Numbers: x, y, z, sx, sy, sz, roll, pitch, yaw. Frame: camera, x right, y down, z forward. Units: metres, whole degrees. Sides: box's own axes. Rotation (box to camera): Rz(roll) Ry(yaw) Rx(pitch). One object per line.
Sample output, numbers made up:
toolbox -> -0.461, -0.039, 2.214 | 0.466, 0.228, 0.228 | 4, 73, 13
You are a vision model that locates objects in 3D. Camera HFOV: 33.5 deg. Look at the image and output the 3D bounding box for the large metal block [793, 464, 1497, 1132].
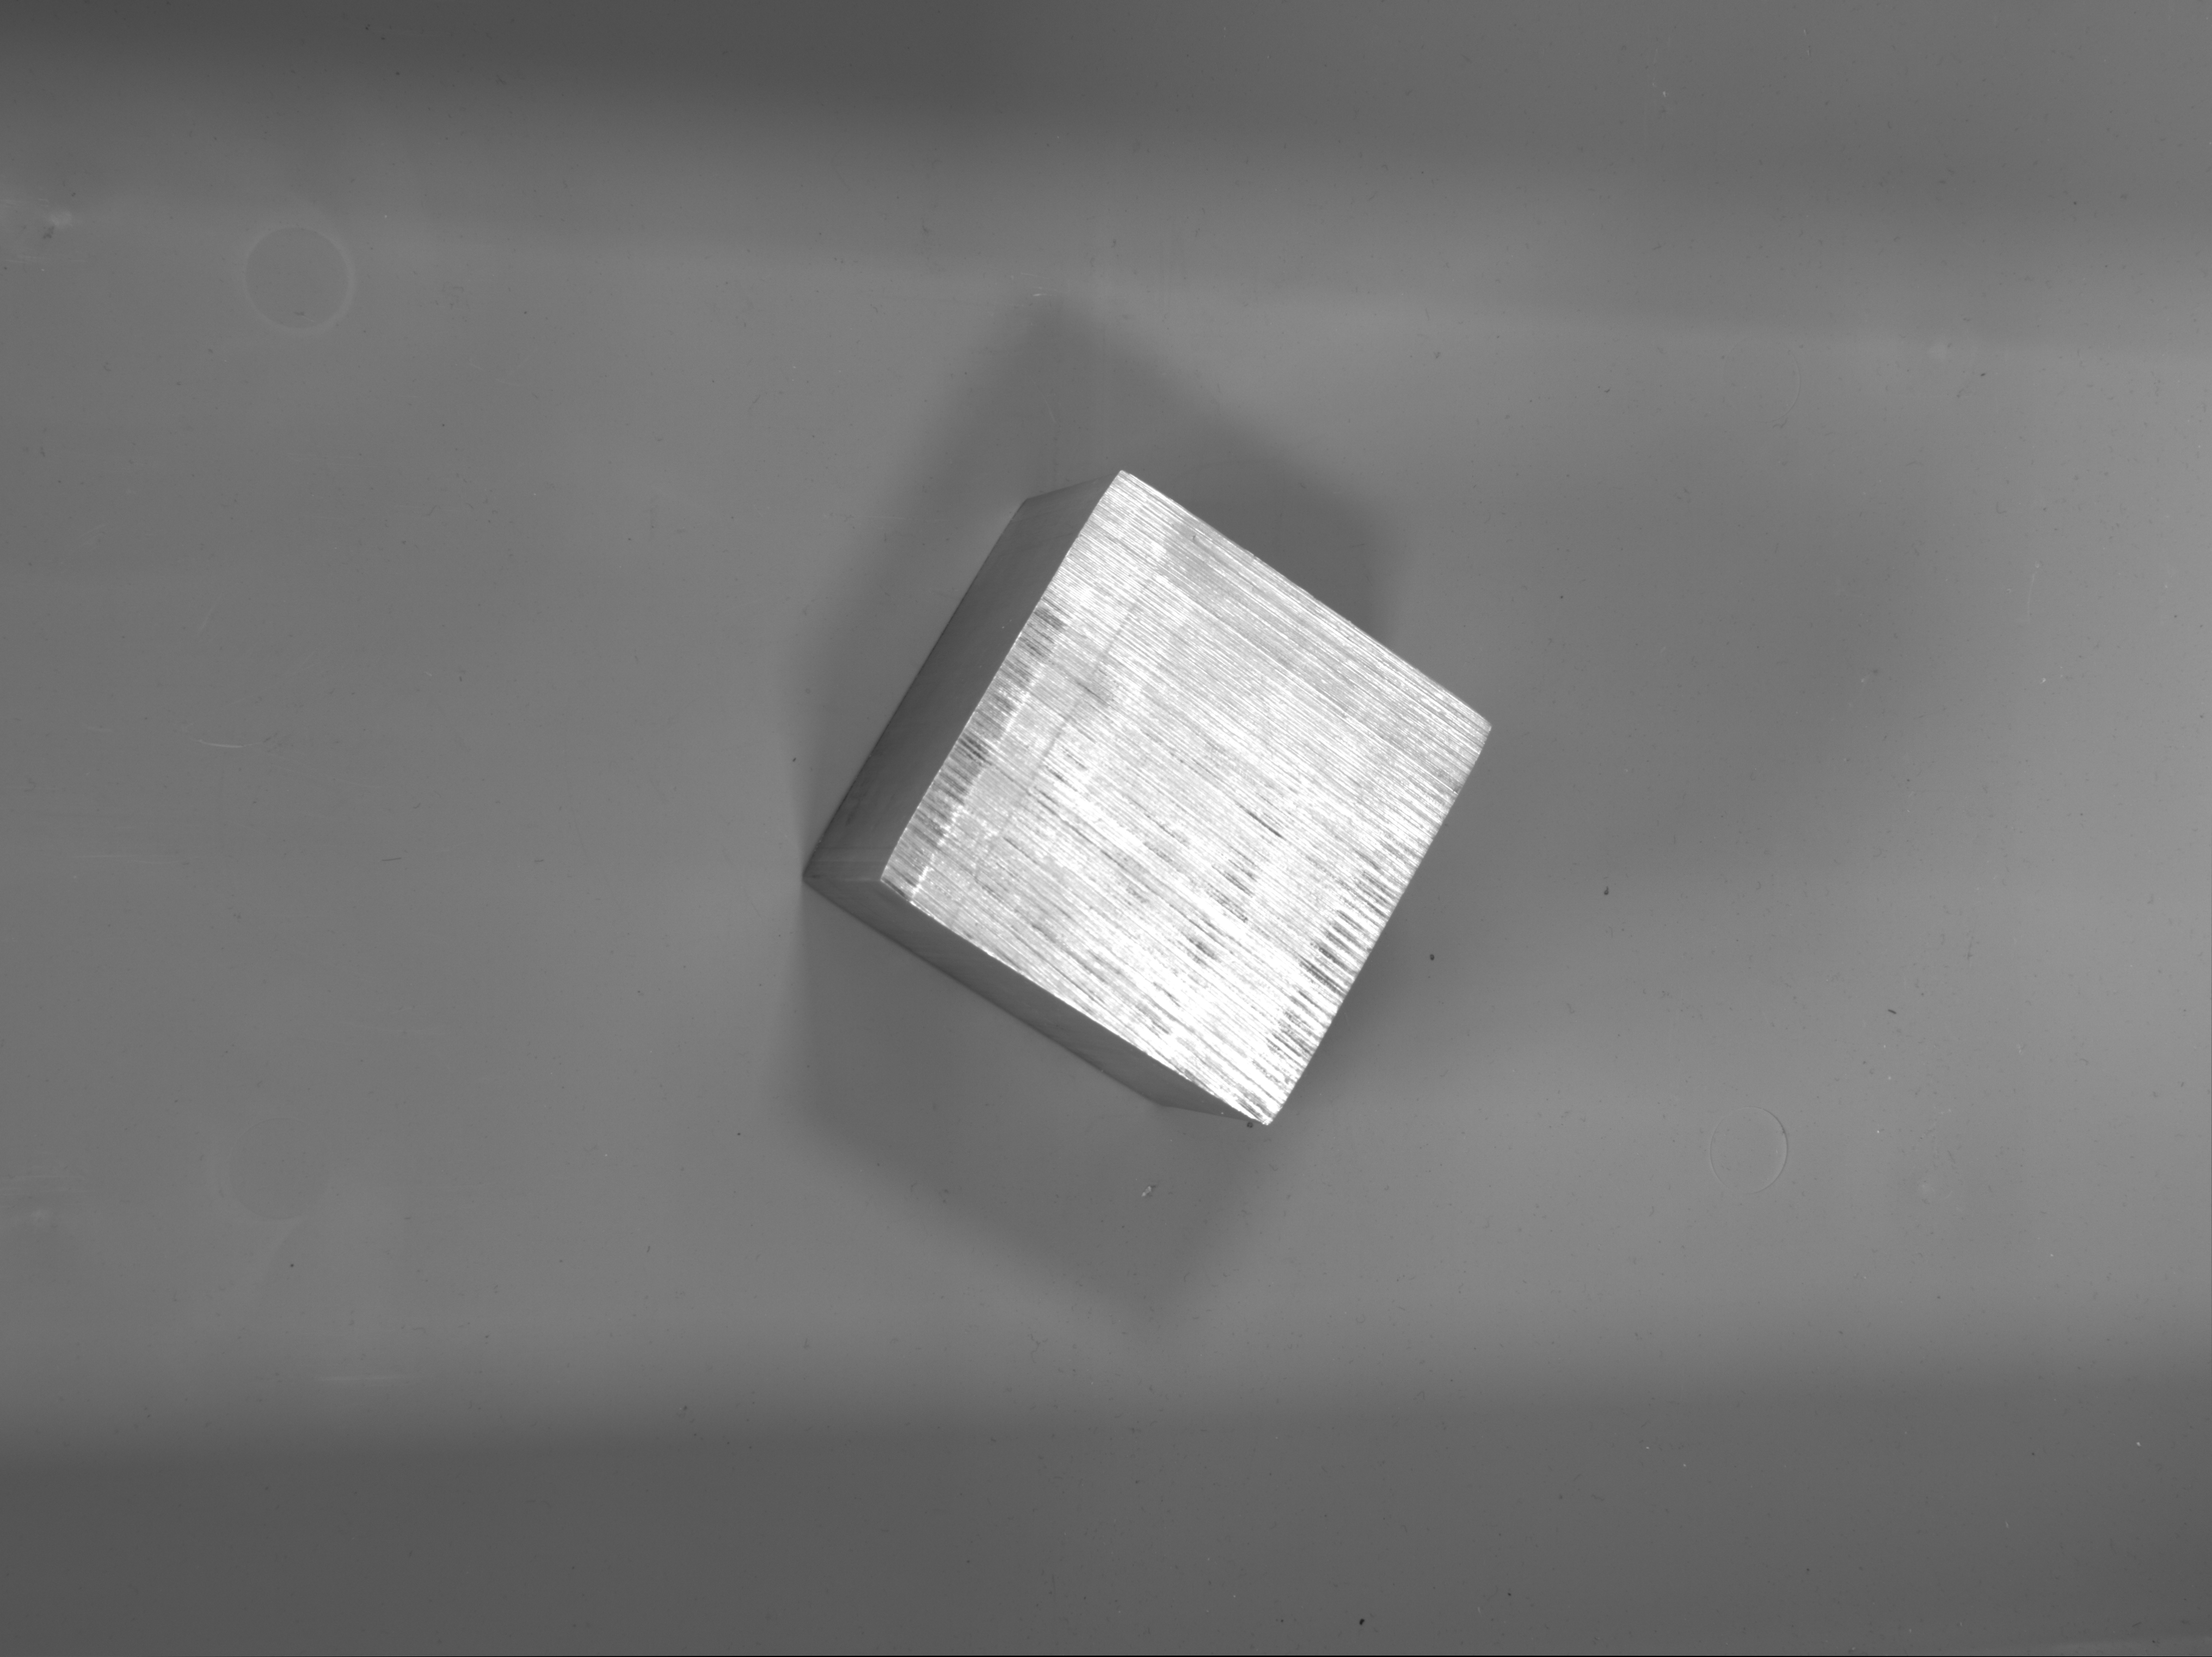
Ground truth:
large metal block -> 0.006, -0.004, 0.629 | 0.080, 0.050, 0.080 | 33, 79, -17
